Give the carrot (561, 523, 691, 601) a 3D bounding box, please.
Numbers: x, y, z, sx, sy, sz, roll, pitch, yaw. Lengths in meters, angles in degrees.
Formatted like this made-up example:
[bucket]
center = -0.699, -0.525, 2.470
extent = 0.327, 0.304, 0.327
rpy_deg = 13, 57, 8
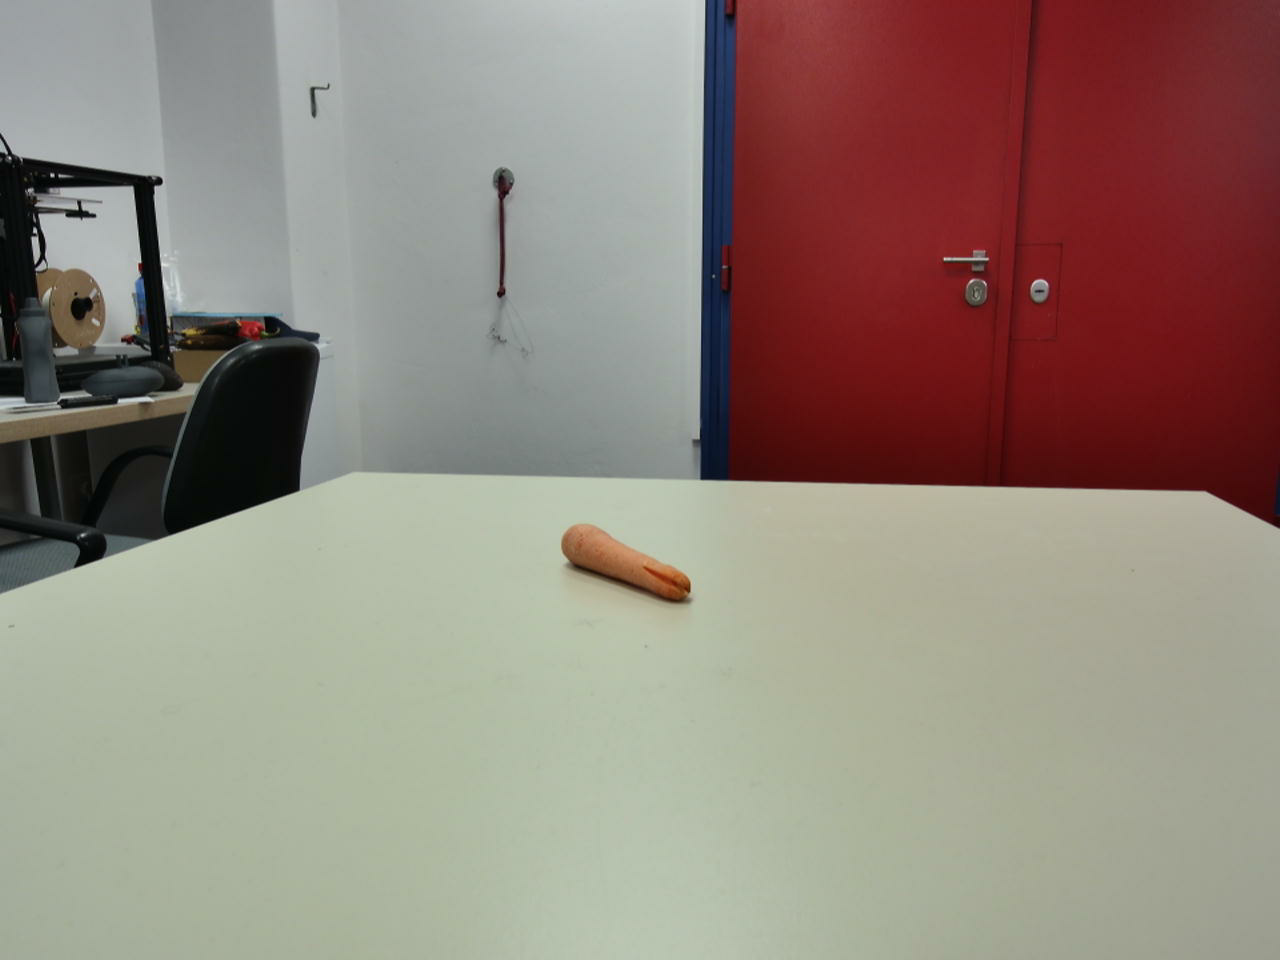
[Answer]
[carrot]
center = -0.012, 0.051, 0.659
extent = 0.030, 0.032, 0.136
rpy_deg = -4, 9, -33
